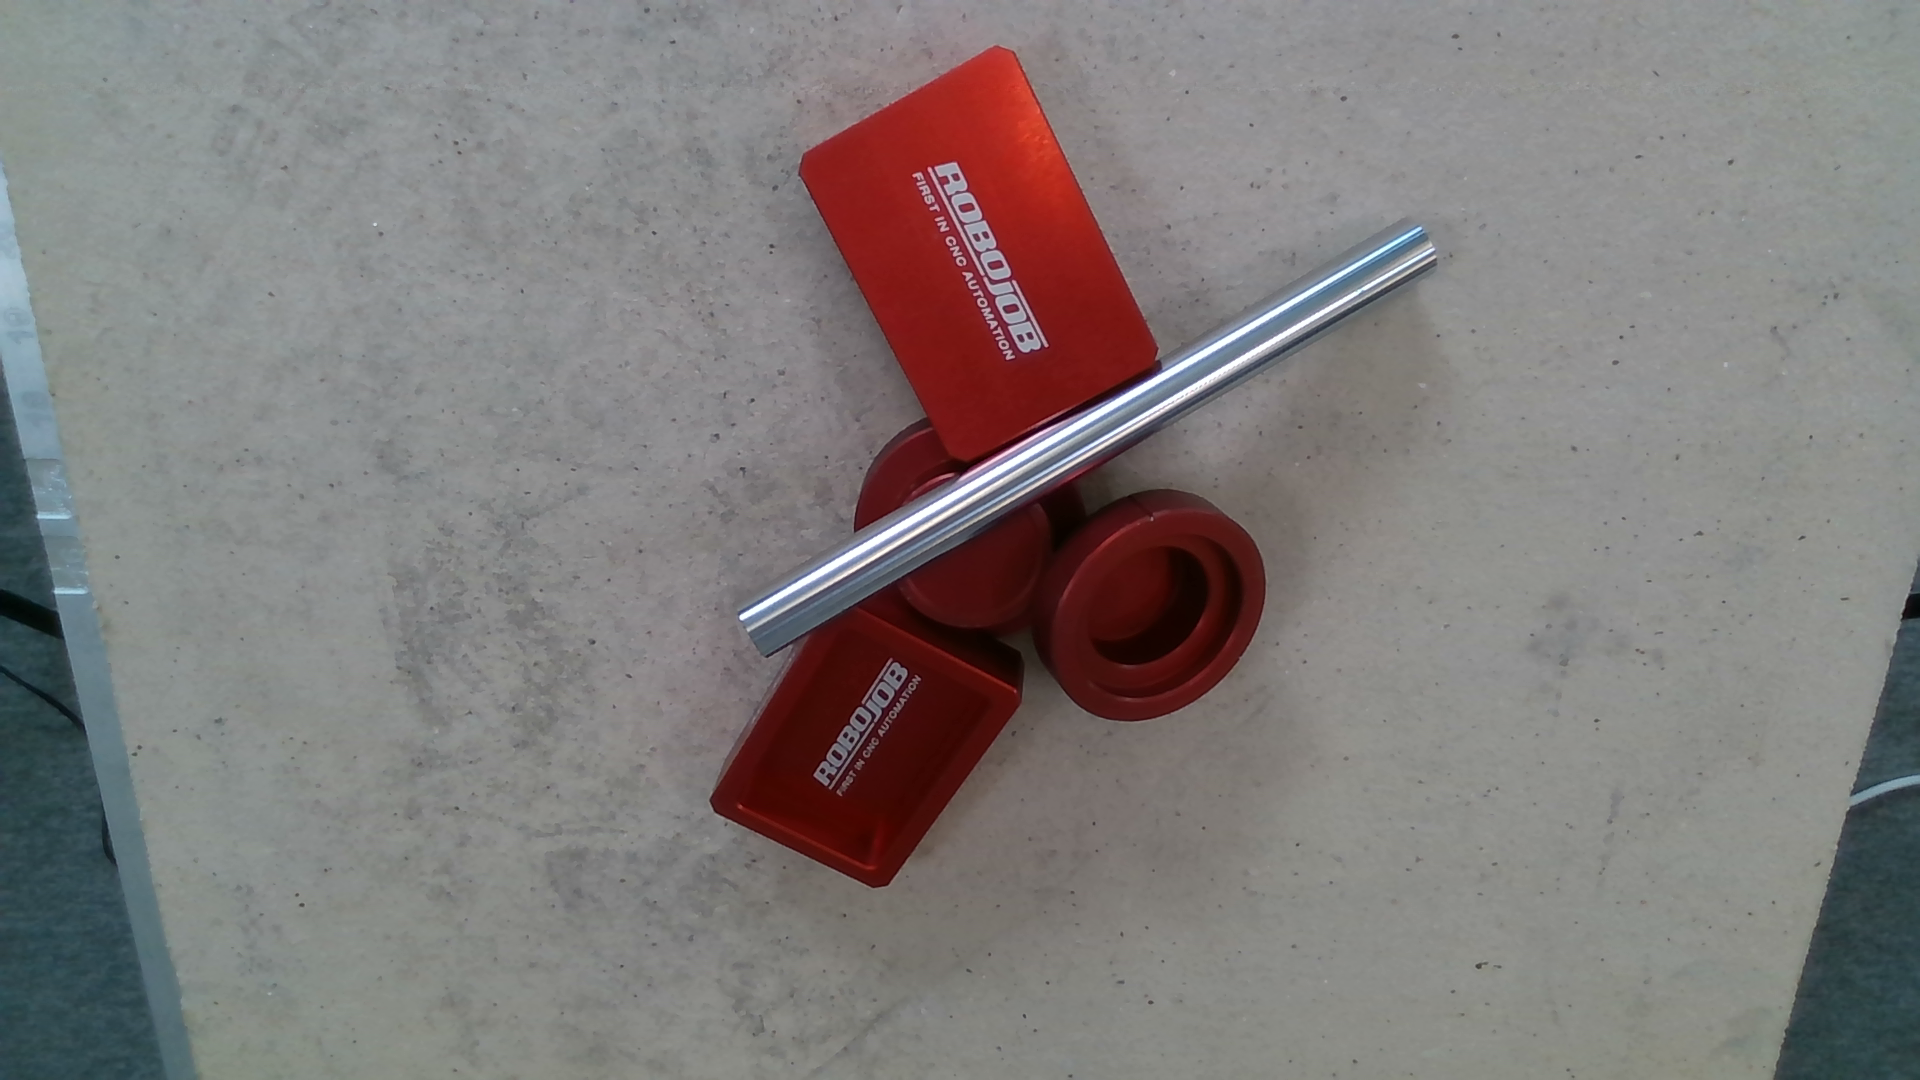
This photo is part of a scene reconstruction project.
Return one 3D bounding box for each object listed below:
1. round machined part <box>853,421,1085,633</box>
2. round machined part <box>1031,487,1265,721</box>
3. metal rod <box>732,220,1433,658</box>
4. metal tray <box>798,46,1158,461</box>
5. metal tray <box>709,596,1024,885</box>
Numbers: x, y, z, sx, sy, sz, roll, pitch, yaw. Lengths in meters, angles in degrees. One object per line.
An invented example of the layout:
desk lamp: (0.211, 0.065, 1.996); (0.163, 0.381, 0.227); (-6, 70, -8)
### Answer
round machined part: (0.004, -0.003, 0.575); (0.098, 0.042, 0.098); (0, 110, 0)
round machined part: (0.074, 0.023, 0.573); (0.098, 0.042, 0.098); (-10, 119, -19)
metal rod: (0.049, -0.040, 0.535); (0.300, 0.025, 0.025); (-30, 108, -3)
metal tray: (0.008, -0.108, 0.531); (0.090, 0.030, 0.130); (-27, 99, 7)
metal tray: (-0.042, 0.084, 0.602); (0.090, 0.030, 0.130); (28, 118, -10)
